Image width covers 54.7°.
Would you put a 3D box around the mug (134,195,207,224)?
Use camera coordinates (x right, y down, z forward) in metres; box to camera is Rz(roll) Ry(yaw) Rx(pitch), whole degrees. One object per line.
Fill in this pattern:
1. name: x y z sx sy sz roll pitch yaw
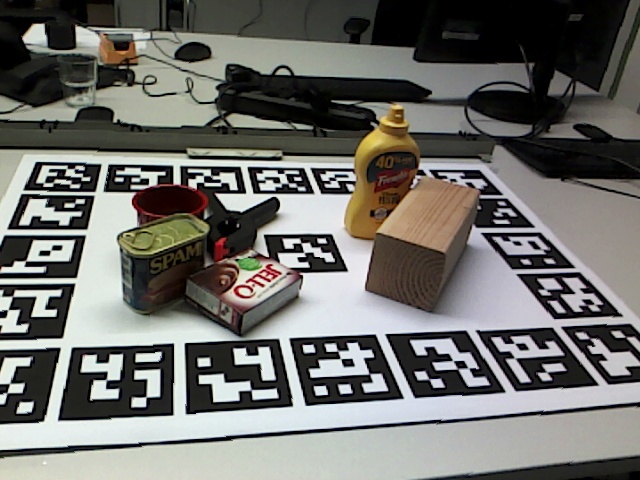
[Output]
1. mug: -0.195 -0.008 0.830 0.093 0.081 0.117 12 33 6

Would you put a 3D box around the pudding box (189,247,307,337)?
1. pudding box: -0.086 0.060 0.741 0.090 0.038 0.113 28 35 29

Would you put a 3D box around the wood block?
1. wood block: 0.148 0.004 0.838 0.090 0.091 0.205 18 31 20

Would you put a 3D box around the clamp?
1. clamp: -0.123 -0.026 0.883 0.122 0.036 0.165 11 33 3

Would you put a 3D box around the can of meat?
1. can of meat: -0.182 0.025 0.724 0.101 0.083 0.058 -20 42 -38

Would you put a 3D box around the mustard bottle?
1. mustard bottle: 0.095 -0.098 0.887 0.096 0.191 0.059 -3 34 -16
